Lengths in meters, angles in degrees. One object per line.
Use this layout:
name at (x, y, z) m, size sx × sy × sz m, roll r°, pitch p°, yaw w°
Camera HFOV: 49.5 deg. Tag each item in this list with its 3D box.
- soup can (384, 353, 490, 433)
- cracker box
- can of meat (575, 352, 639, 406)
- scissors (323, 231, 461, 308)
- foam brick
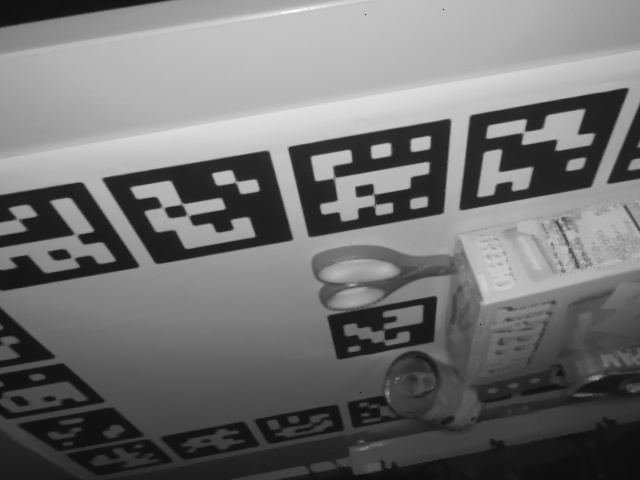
soup can at (0.125, 0.163, 0.731) m, size 0.067 × 0.068 × 0.103 m, roll -36°, pitch 139°, yaw 28°
cracker box at (0.228, 0.037, 0.564) m, size 0.214 × 0.072 × 0.163 m, roll -16°, pitch 141°, yaw 1°
can of meat at (0.295, 0.111, 0.676) m, size 0.102 × 0.084 × 0.057 m, roll 0°, pitch 139°, yaw -11°
scissors at (0.107, 0.010, 0.555) m, size 0.203 × 0.016 × 0.087 m, roll -13°, pitch 140°, yaw 3°
foam brick at (0.203, 0.132, 0.712) m, size 0.078 × 0.051 × 0.052 m, roll -16°, pitch 139°, yaw 8°
